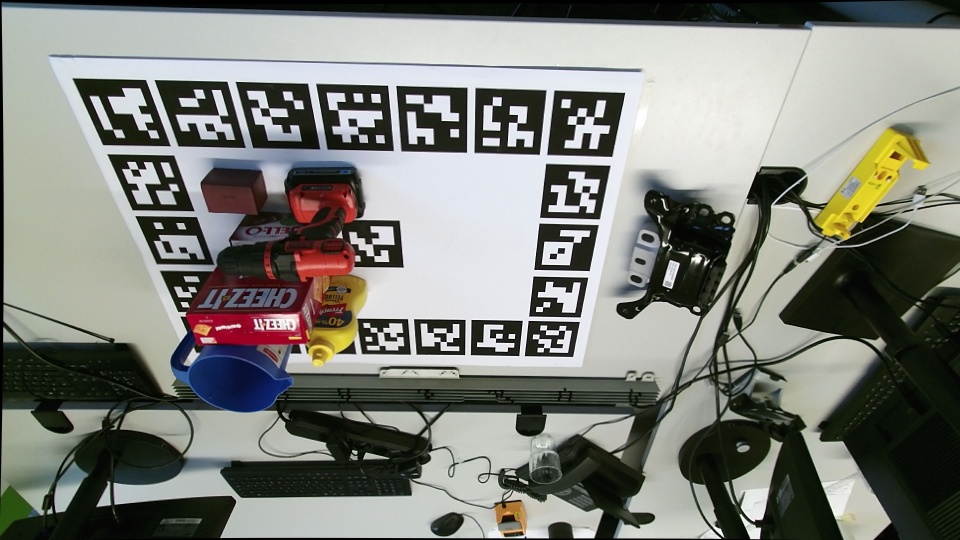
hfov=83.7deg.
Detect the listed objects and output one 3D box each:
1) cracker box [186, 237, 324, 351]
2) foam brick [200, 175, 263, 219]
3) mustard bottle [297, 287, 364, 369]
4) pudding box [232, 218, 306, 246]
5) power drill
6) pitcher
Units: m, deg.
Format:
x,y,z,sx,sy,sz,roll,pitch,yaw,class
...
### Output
x,y,z,sx,sy,sz,roll,pitch,yaw,class
-0.342,0.026,0.842,0.165,0.212,0.072,-3,127,-3,cracker box
-0.391,-0.116,0.846,0.078,0.051,0.053,2,123,-3,foam brick
-0.258,0.106,0.909,0.096,0.190,0.058,11,123,-10,mustard bottle
-0.334,-0.045,0.858,0.114,0.089,0.038,0,127,-5,pudding box
-0.269,-0.055,0.768,0.185,0.186,0.057,0,129,0,power drill
-0.391,0.112,0.896,0.189,0.241,0.133,4,125,-7,pitcher
